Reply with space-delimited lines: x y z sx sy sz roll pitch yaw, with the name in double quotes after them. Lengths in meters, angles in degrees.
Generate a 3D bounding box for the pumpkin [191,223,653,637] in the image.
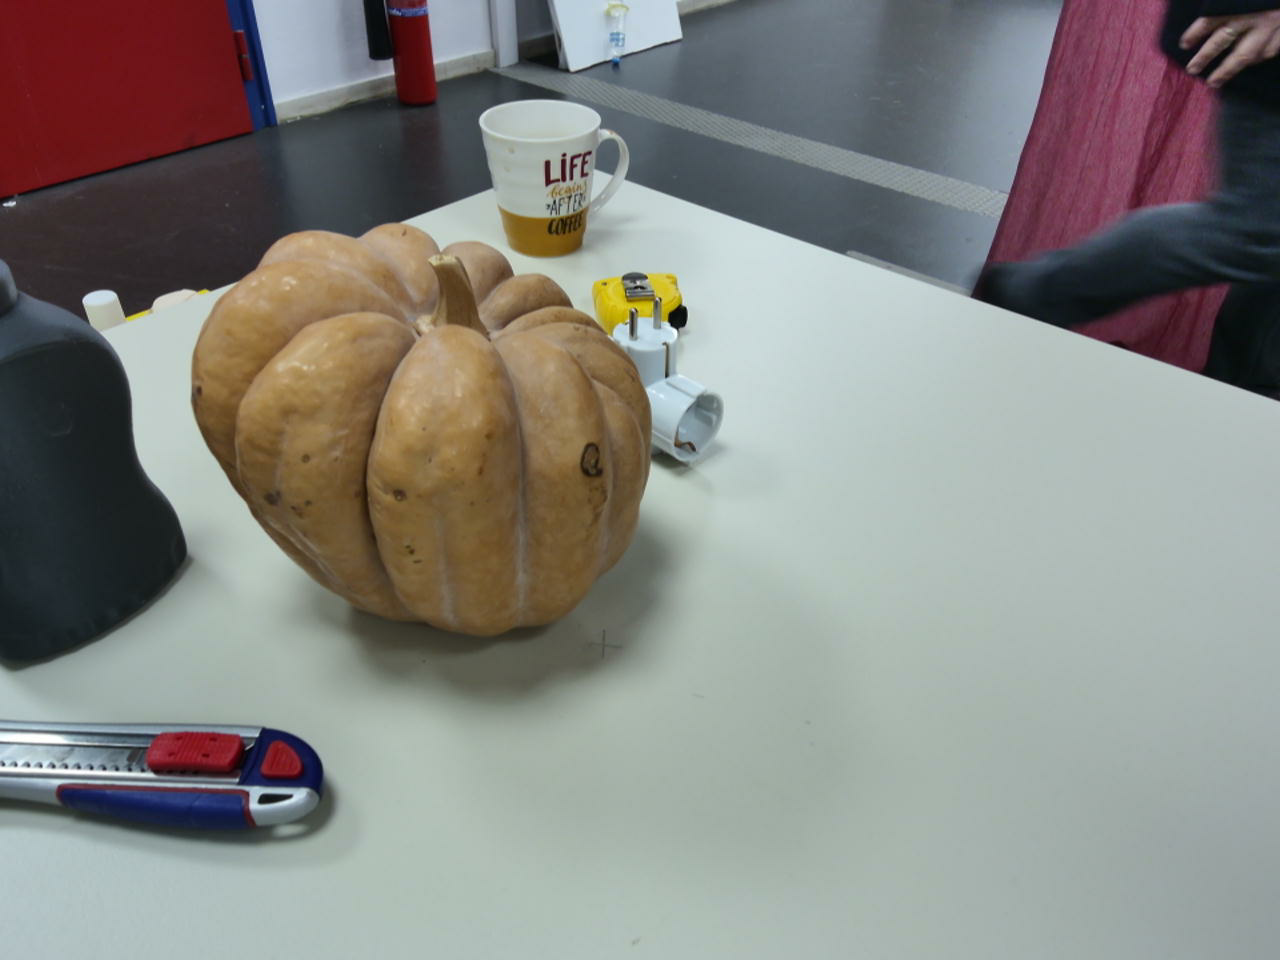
-0.091 -0.021 0.448 0.199 0.177 0.198 1 37 -1 "pumpkin"
